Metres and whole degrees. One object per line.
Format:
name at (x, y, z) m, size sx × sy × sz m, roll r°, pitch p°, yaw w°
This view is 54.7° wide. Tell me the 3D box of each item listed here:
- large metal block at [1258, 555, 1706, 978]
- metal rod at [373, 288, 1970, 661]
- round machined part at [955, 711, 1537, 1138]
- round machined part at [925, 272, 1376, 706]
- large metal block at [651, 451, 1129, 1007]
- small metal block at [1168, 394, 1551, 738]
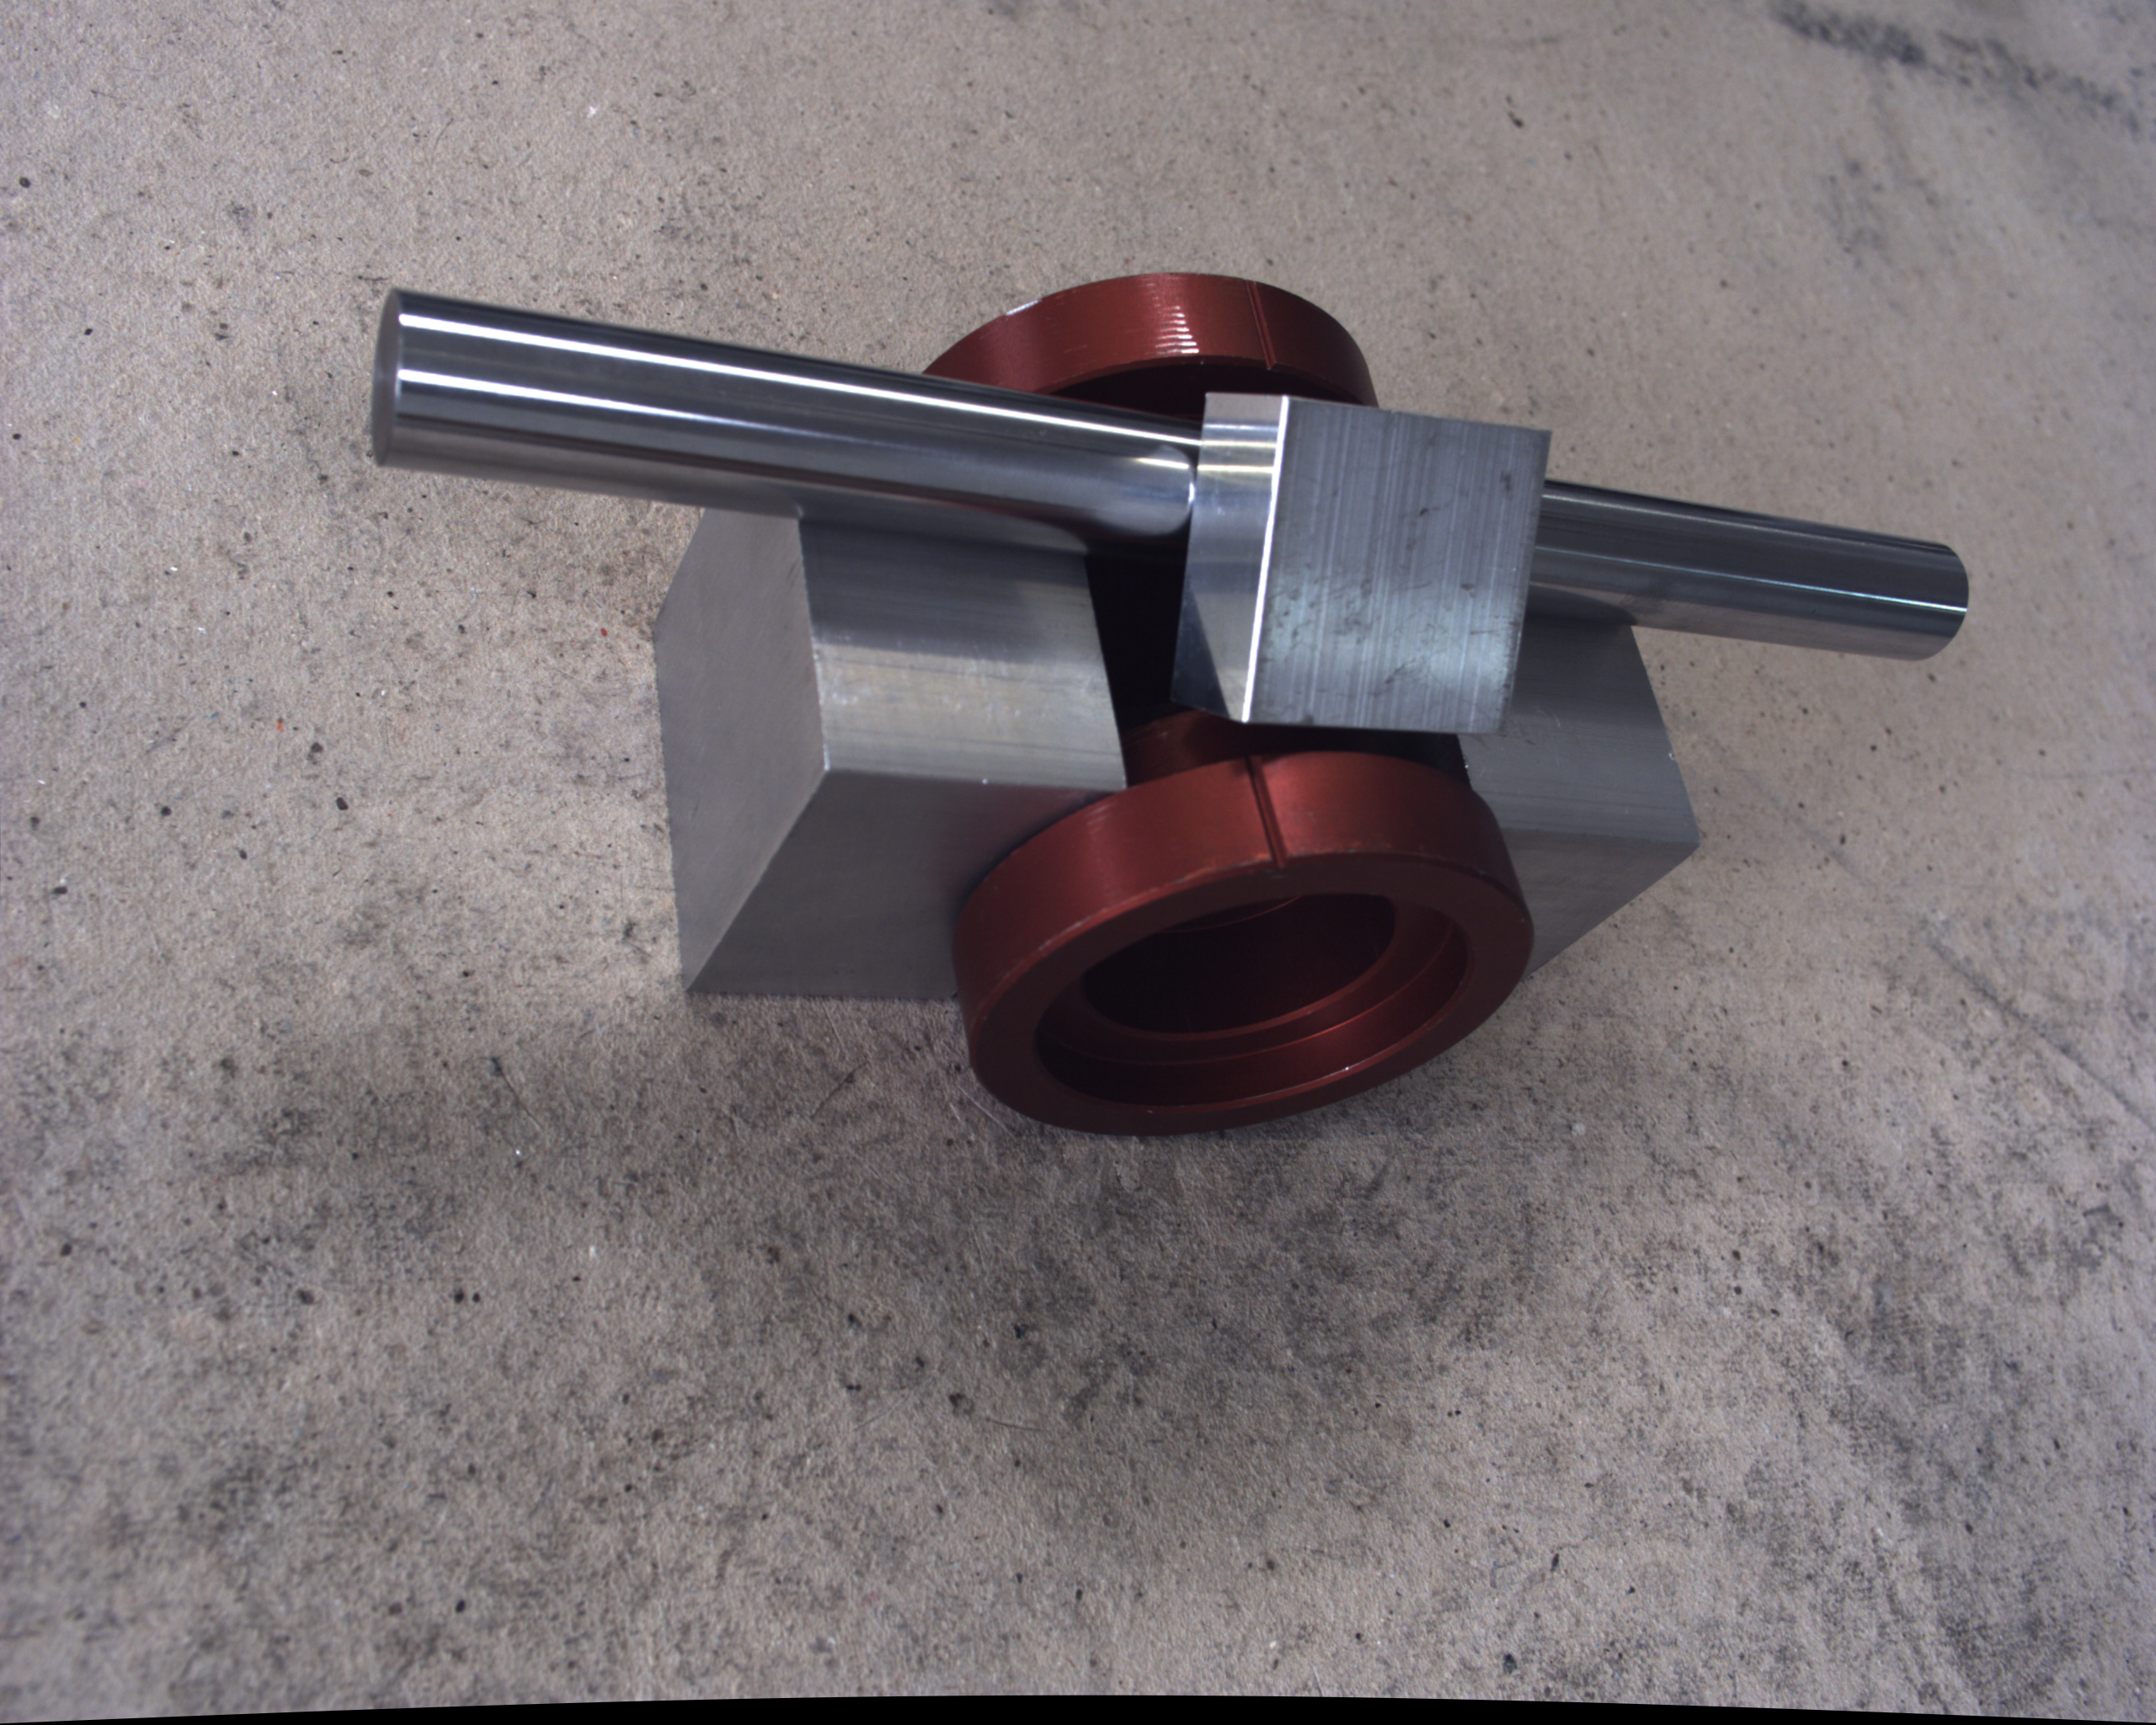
large metal block at (0.069, -0.021, 0.420) m, size 0.050 × 0.080 × 0.080 m, roll 4°, pitch 60°, yaw -27°
metal rod at (0.038, -0.061, 0.360) m, size 0.302 × 0.025 × 0.025 m, roll 3°, pitch 61°, yaw -27°
round machined part at (0.027, 0.008, 0.367) m, size 0.099 × 0.097 × 0.042 m, roll 4°, pitch 55°, yaw -26°
round machined part at (0.013, -0.065, 0.405) m, size 0.099 × 0.097 × 0.042 m, roll 4°, pitch 61°, yaw -27°
large metal block at (-0.037, -0.028, 0.367) m, size 0.050 × 0.080 × 0.080 m, roll 4°, pitch 60°, yaw -26°
small metal block at (0.045, -0.048, 0.339) m, size 0.050 × 0.025 × 0.050 m, roll 1°, pitch 102°, yaw -26°
